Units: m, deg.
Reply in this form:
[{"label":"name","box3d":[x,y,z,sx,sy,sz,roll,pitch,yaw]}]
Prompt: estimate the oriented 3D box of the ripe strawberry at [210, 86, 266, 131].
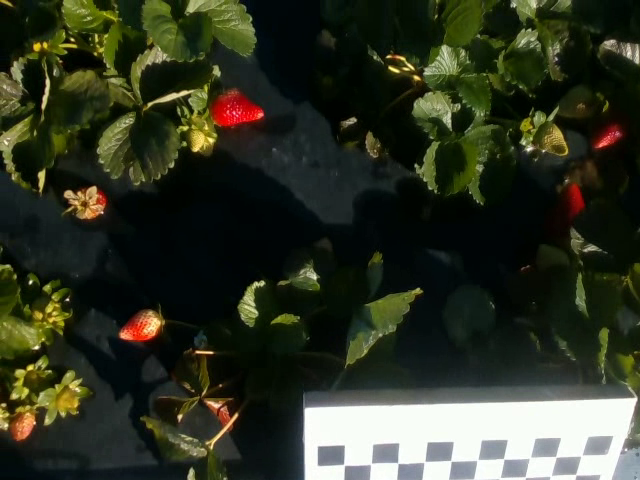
[{"label":"ripe strawberry","box3d":[-0.084,-0.135,0.590,0.064,0.049,0.052,11,28,2]}]
